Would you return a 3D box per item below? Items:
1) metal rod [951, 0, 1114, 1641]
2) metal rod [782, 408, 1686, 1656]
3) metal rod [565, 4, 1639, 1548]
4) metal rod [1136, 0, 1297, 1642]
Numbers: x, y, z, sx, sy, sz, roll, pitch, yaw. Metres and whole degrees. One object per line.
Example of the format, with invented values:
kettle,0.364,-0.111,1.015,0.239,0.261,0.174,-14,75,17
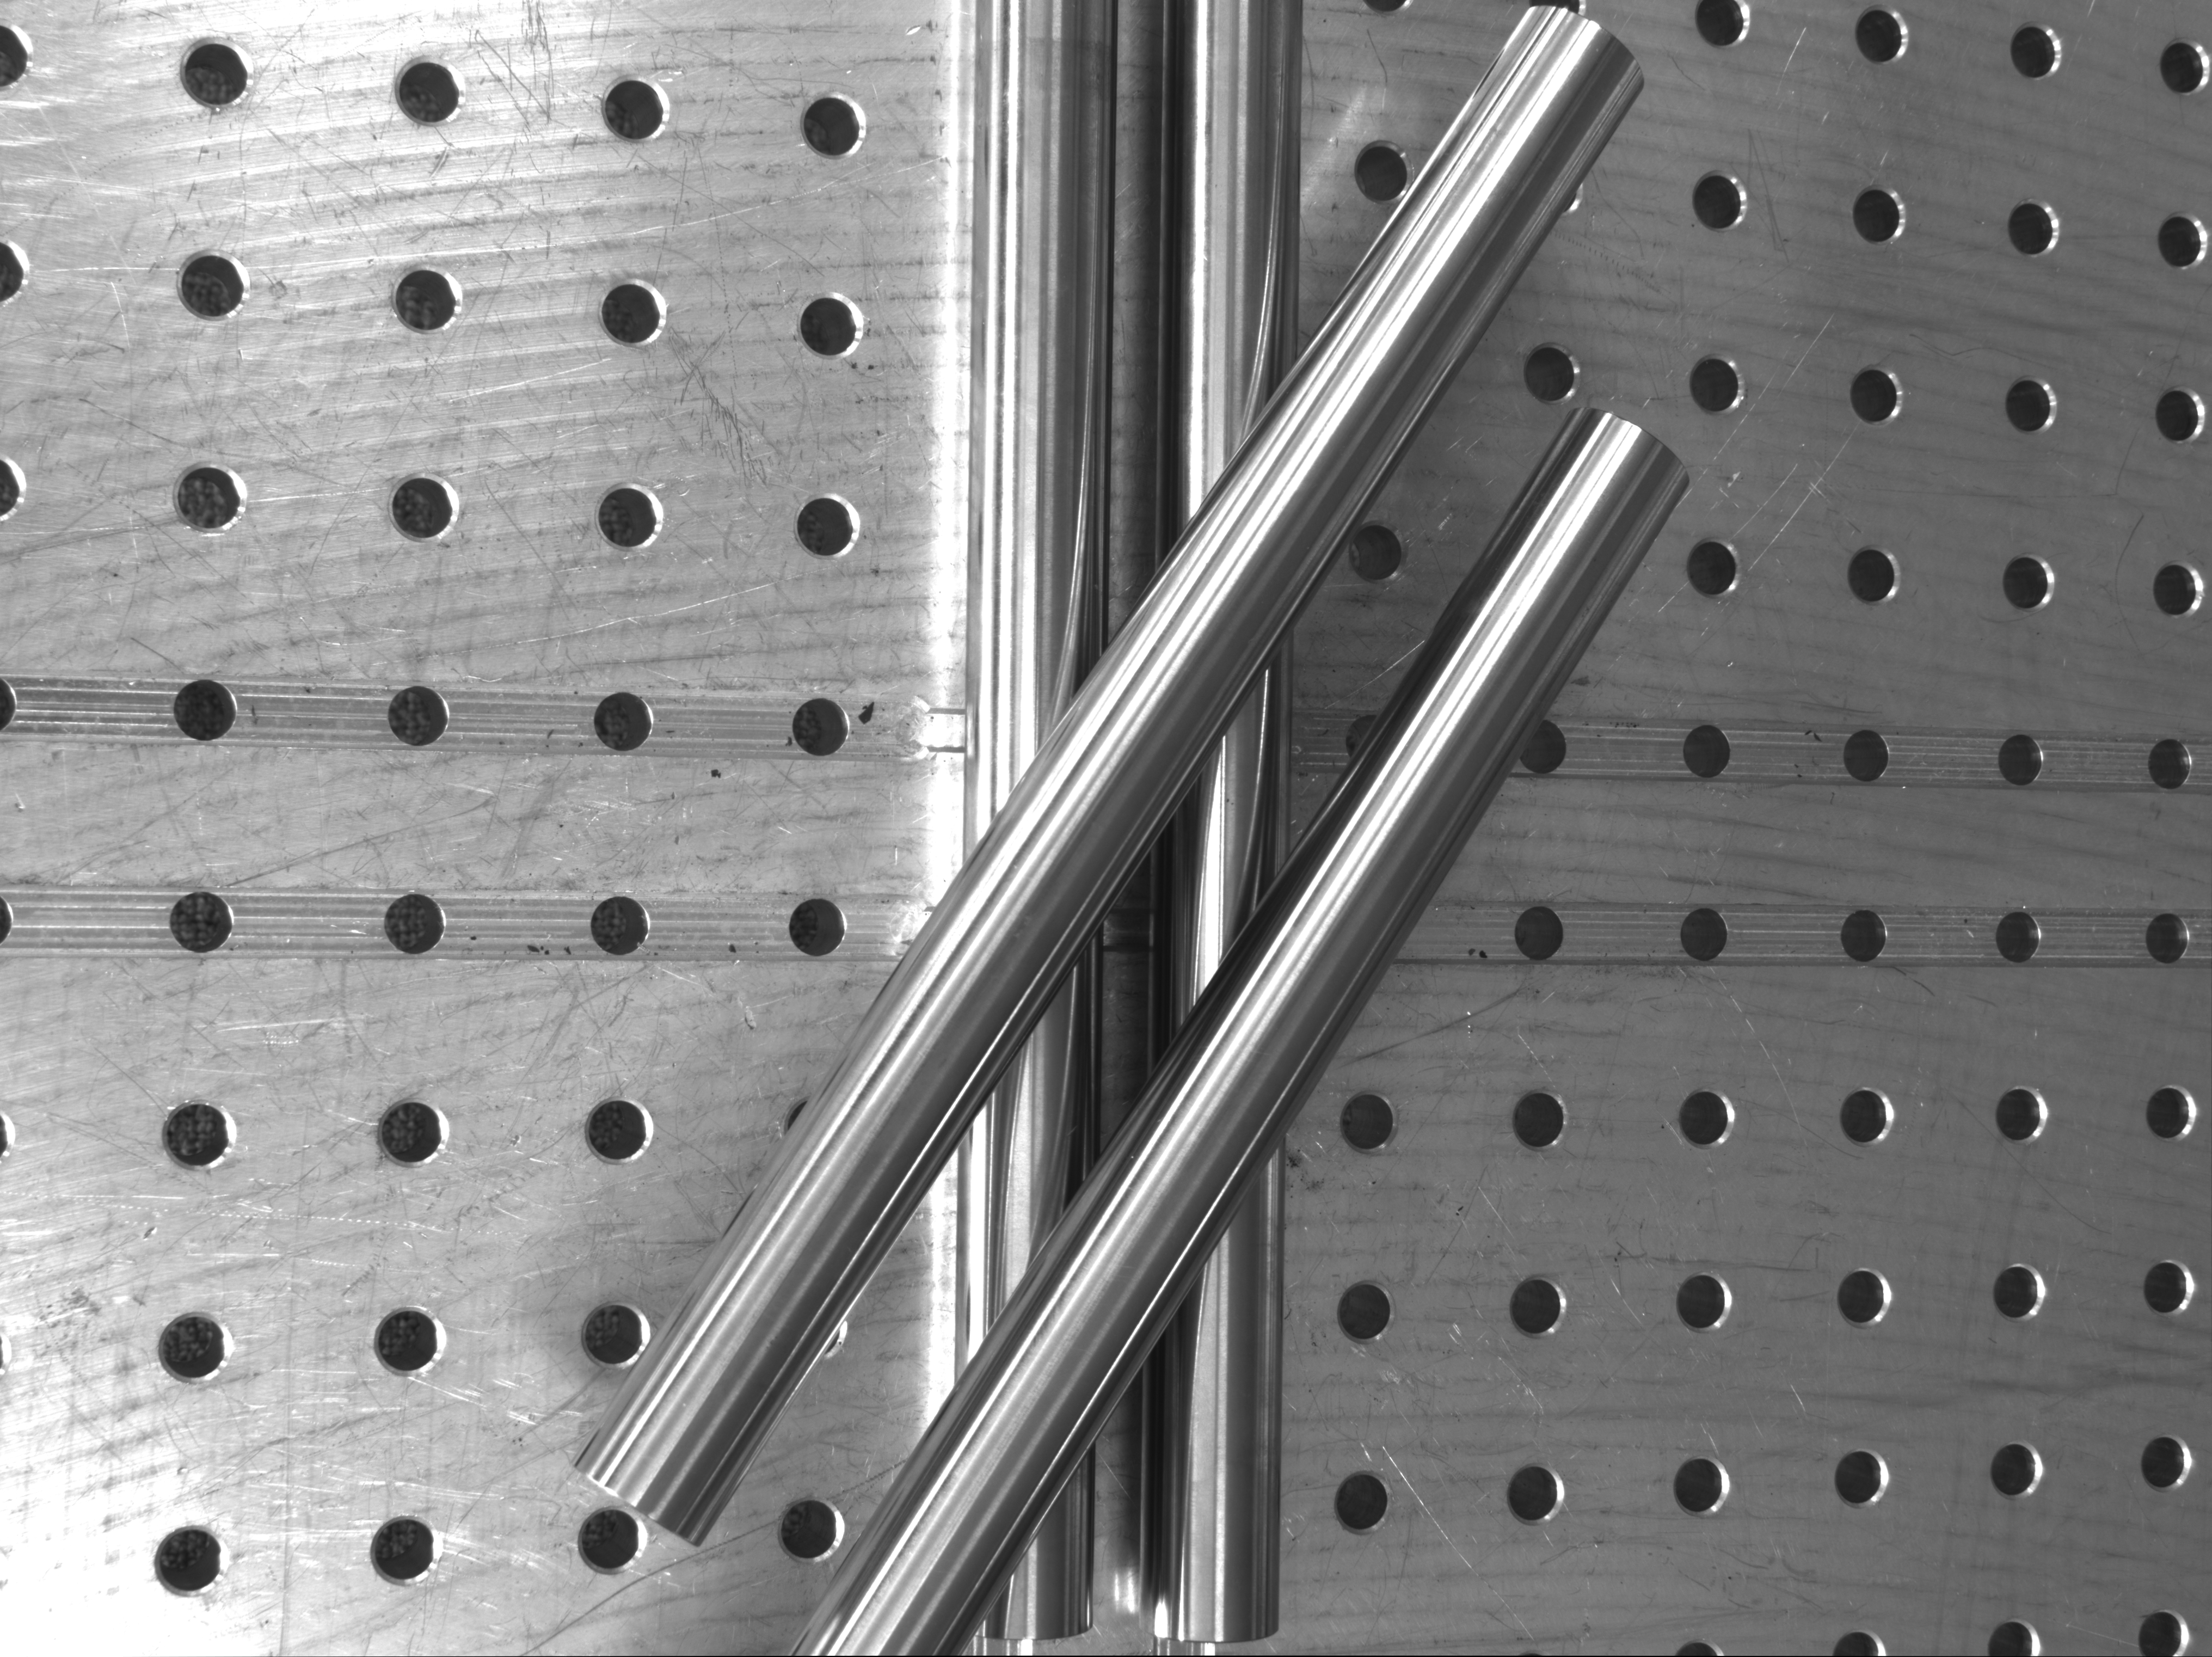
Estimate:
metal rod,-0.013,-0.011,0.642,0.025,0.025,0.300,1,90,-20
metal rod,0.013,0.057,0.624,0.025,0.025,0.300,36,78,-16
metal rod,0.003,-0.014,0.621,0.025,0.025,0.300,36,78,-16
metal rod,0.020,-0.008,0.654,0.025,0.025,0.300,1,90,-20
